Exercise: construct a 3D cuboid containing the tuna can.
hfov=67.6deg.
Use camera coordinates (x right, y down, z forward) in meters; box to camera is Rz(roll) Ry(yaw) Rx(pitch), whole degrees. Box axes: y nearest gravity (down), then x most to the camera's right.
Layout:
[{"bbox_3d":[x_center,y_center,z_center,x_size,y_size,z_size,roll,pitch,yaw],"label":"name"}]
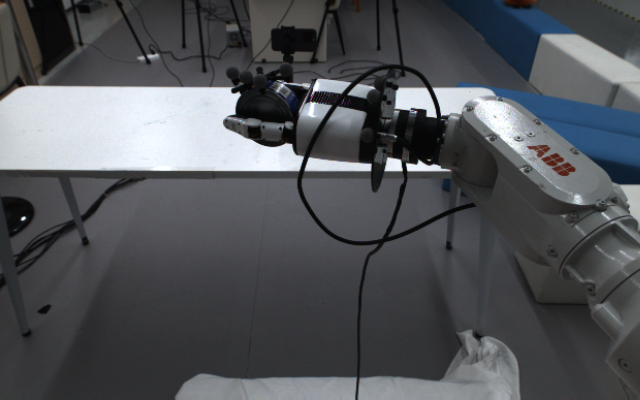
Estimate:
[{"bbox_3d":[-0.067,-0.117,0.653,0.085,0.085,0.034,14,40,16],"label":"tuna can"}]
